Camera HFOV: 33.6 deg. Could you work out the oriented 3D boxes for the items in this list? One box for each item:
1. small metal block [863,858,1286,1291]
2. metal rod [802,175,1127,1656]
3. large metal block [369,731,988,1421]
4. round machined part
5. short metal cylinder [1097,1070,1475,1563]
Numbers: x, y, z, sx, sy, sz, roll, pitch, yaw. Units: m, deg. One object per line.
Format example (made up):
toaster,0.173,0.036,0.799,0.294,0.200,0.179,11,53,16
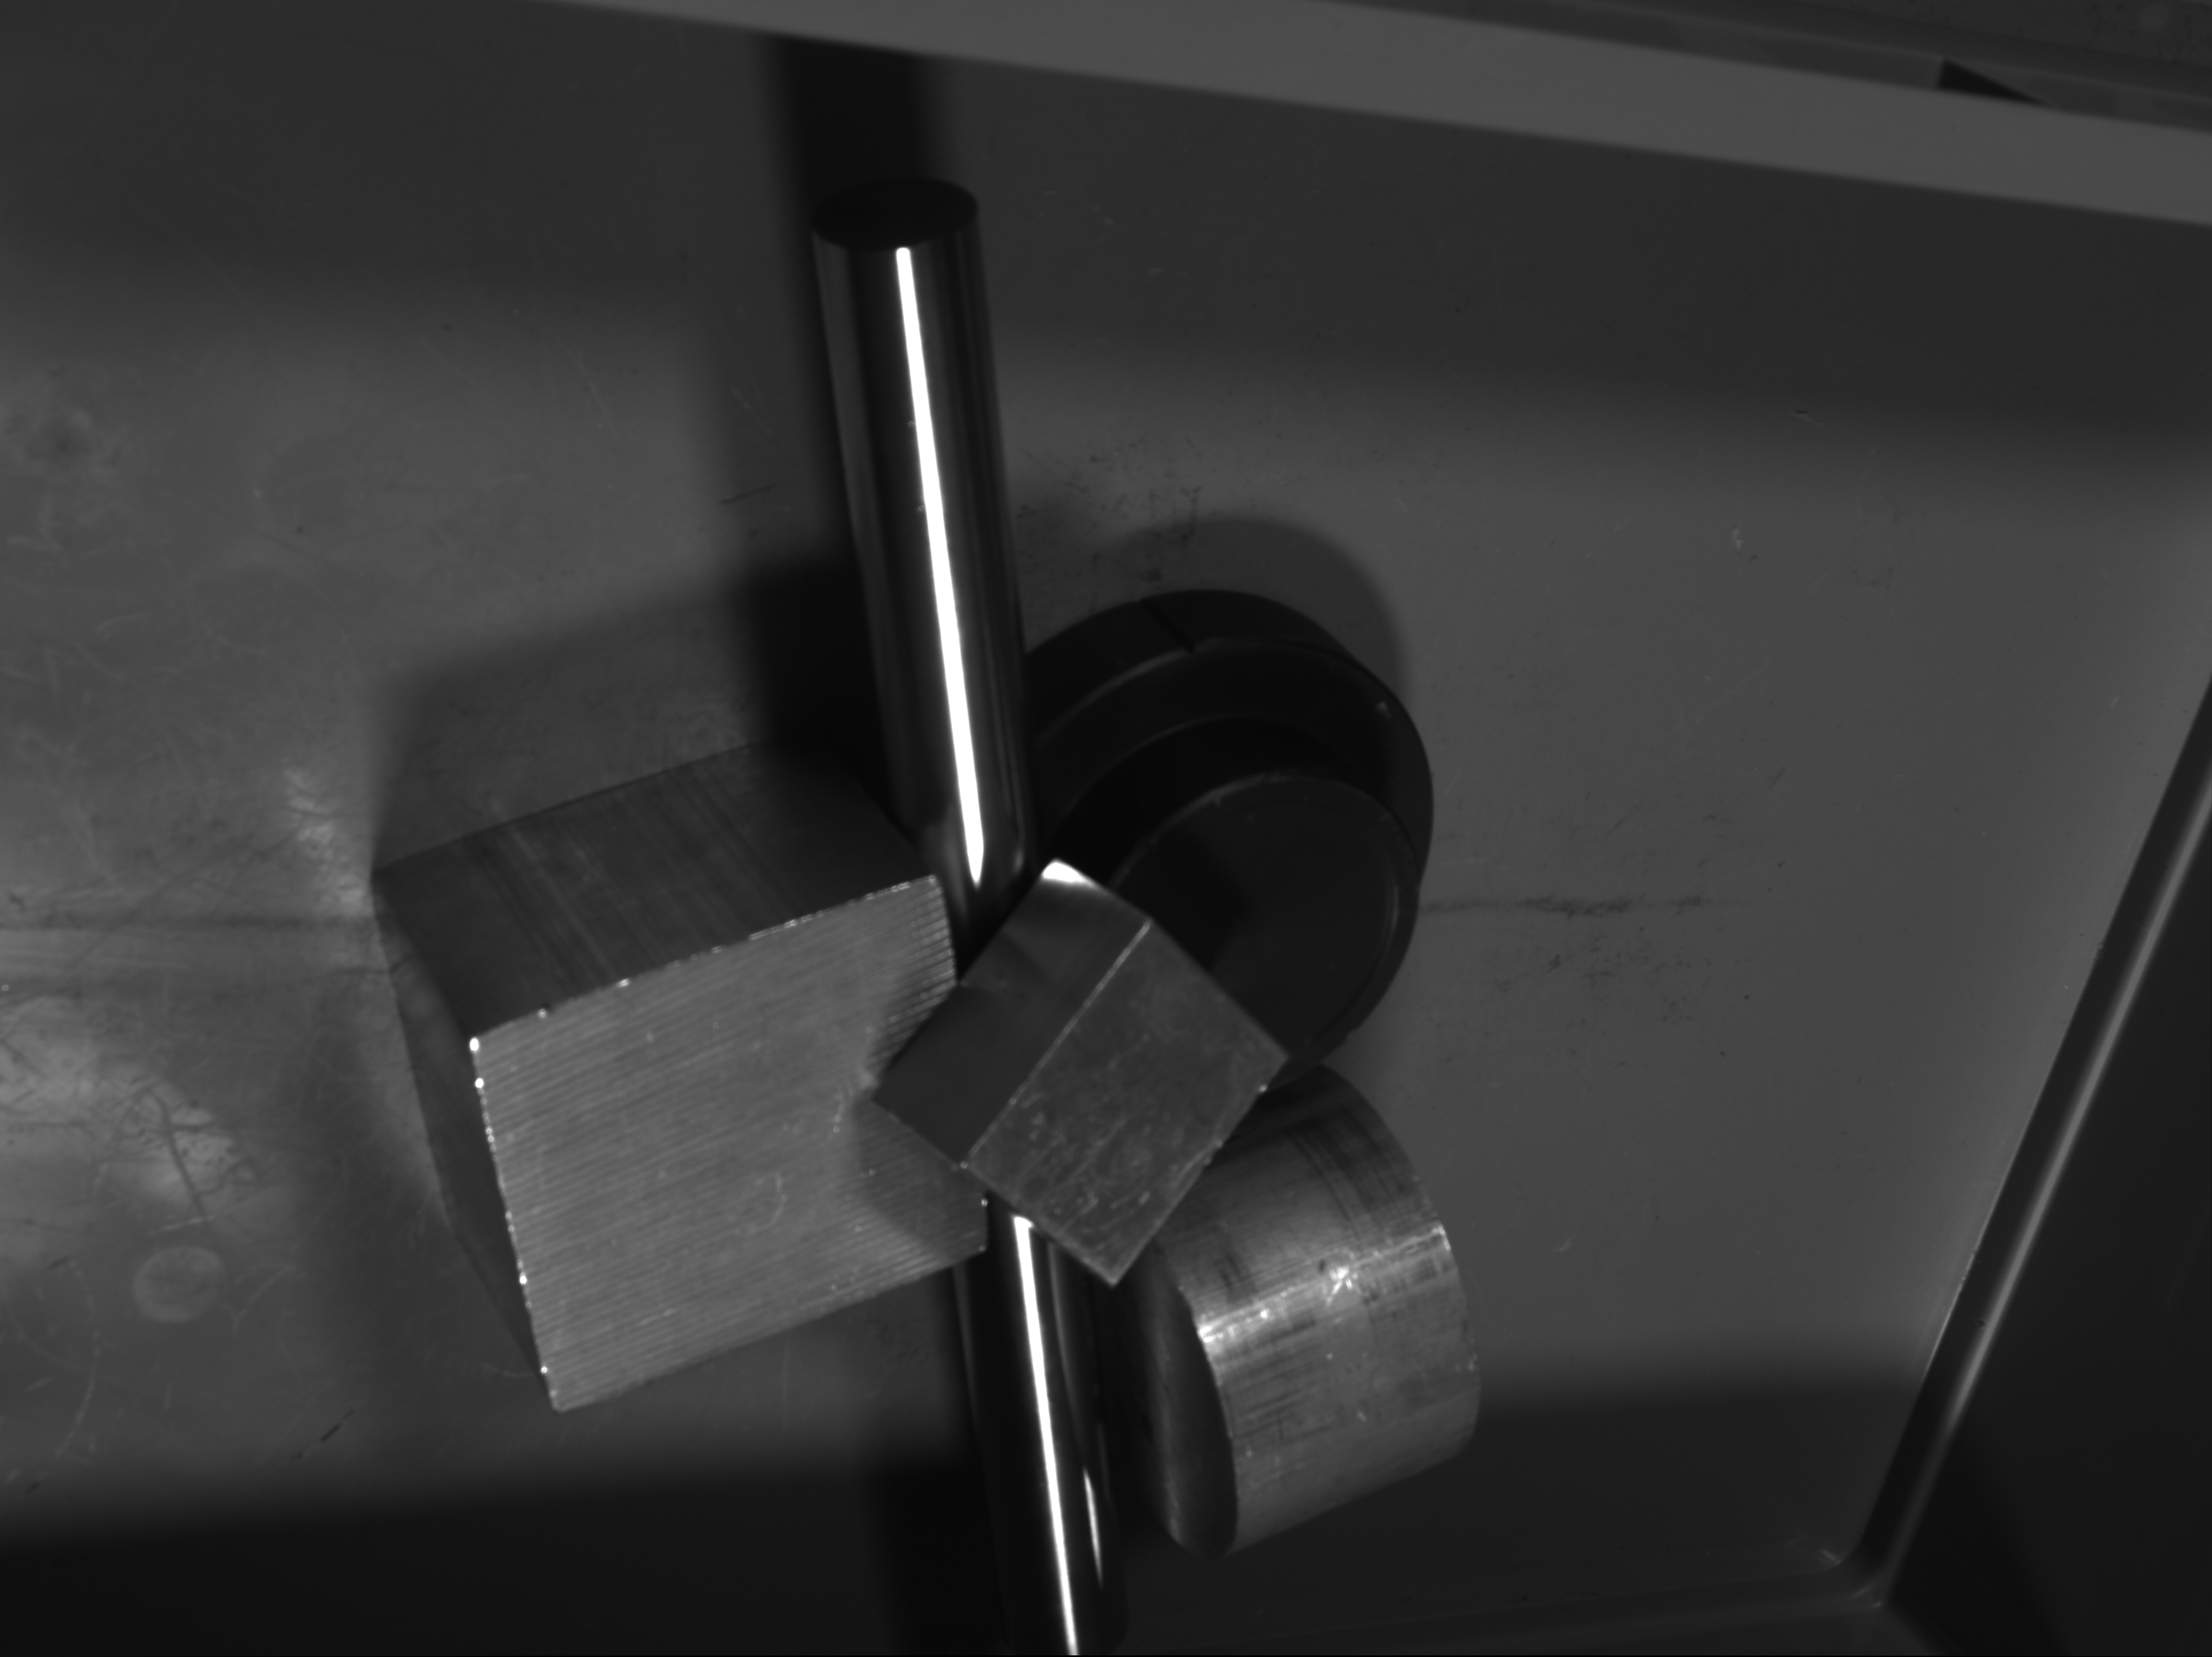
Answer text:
small metal block,-0.004,0.041,0.609,0.050,0.025,0.050,-52,138,-7
metal rod,-0.021,0.032,0.630,0.025,0.025,0.300,-19,126,-19
large metal block,-0.070,0.041,0.614,0.080,0.050,0.080,-19,126,-19
round machined part,0.016,0.011,0.653,0.098,0.042,0.098,-15,125,-22
short metal cylinder,0.027,0.090,0.685,0.050,0.080,0.080,-19,126,-19
